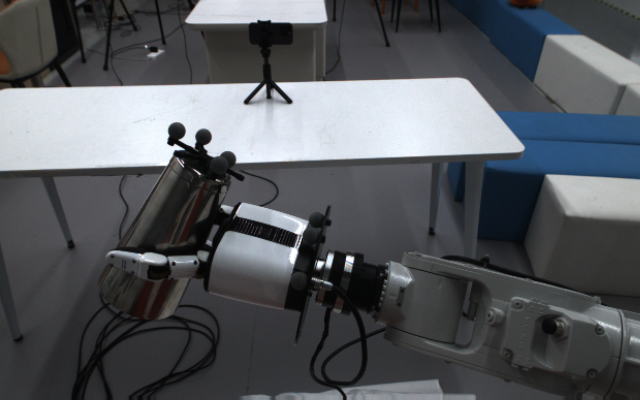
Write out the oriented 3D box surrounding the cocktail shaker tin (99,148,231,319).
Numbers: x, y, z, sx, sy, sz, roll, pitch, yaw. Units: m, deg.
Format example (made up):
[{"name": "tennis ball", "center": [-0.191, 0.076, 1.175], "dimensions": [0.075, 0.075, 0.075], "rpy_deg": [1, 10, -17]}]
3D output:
[{"name": "cocktail shaker tin", "center": [-0.162, 0.033, 0.529], "dimensions": [0.093, 0.170, 0.093], "rpy_deg": [28, 14, -8]}]
